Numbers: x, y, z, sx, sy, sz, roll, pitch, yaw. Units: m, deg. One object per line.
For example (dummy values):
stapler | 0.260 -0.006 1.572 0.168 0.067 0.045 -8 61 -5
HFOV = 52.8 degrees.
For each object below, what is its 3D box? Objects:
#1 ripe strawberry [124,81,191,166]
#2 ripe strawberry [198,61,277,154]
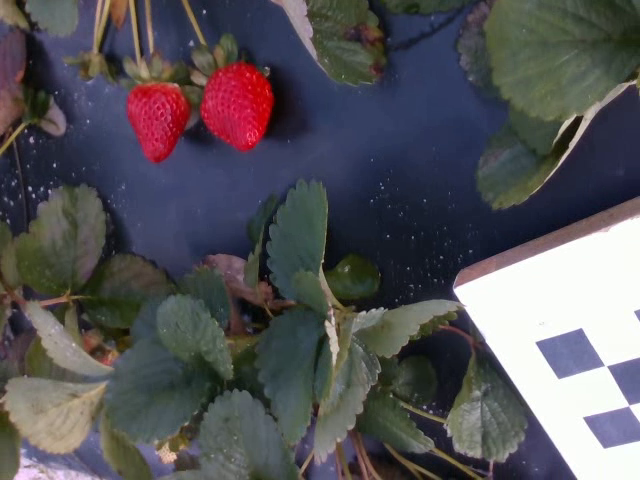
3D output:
ripe strawberry | -0.108 -0.077 0.426 0.048 0.056 0.041 -11 -7 28
ripe strawberry | -0.053 -0.078 0.394 0.051 0.064 0.058 4 -45 -44
